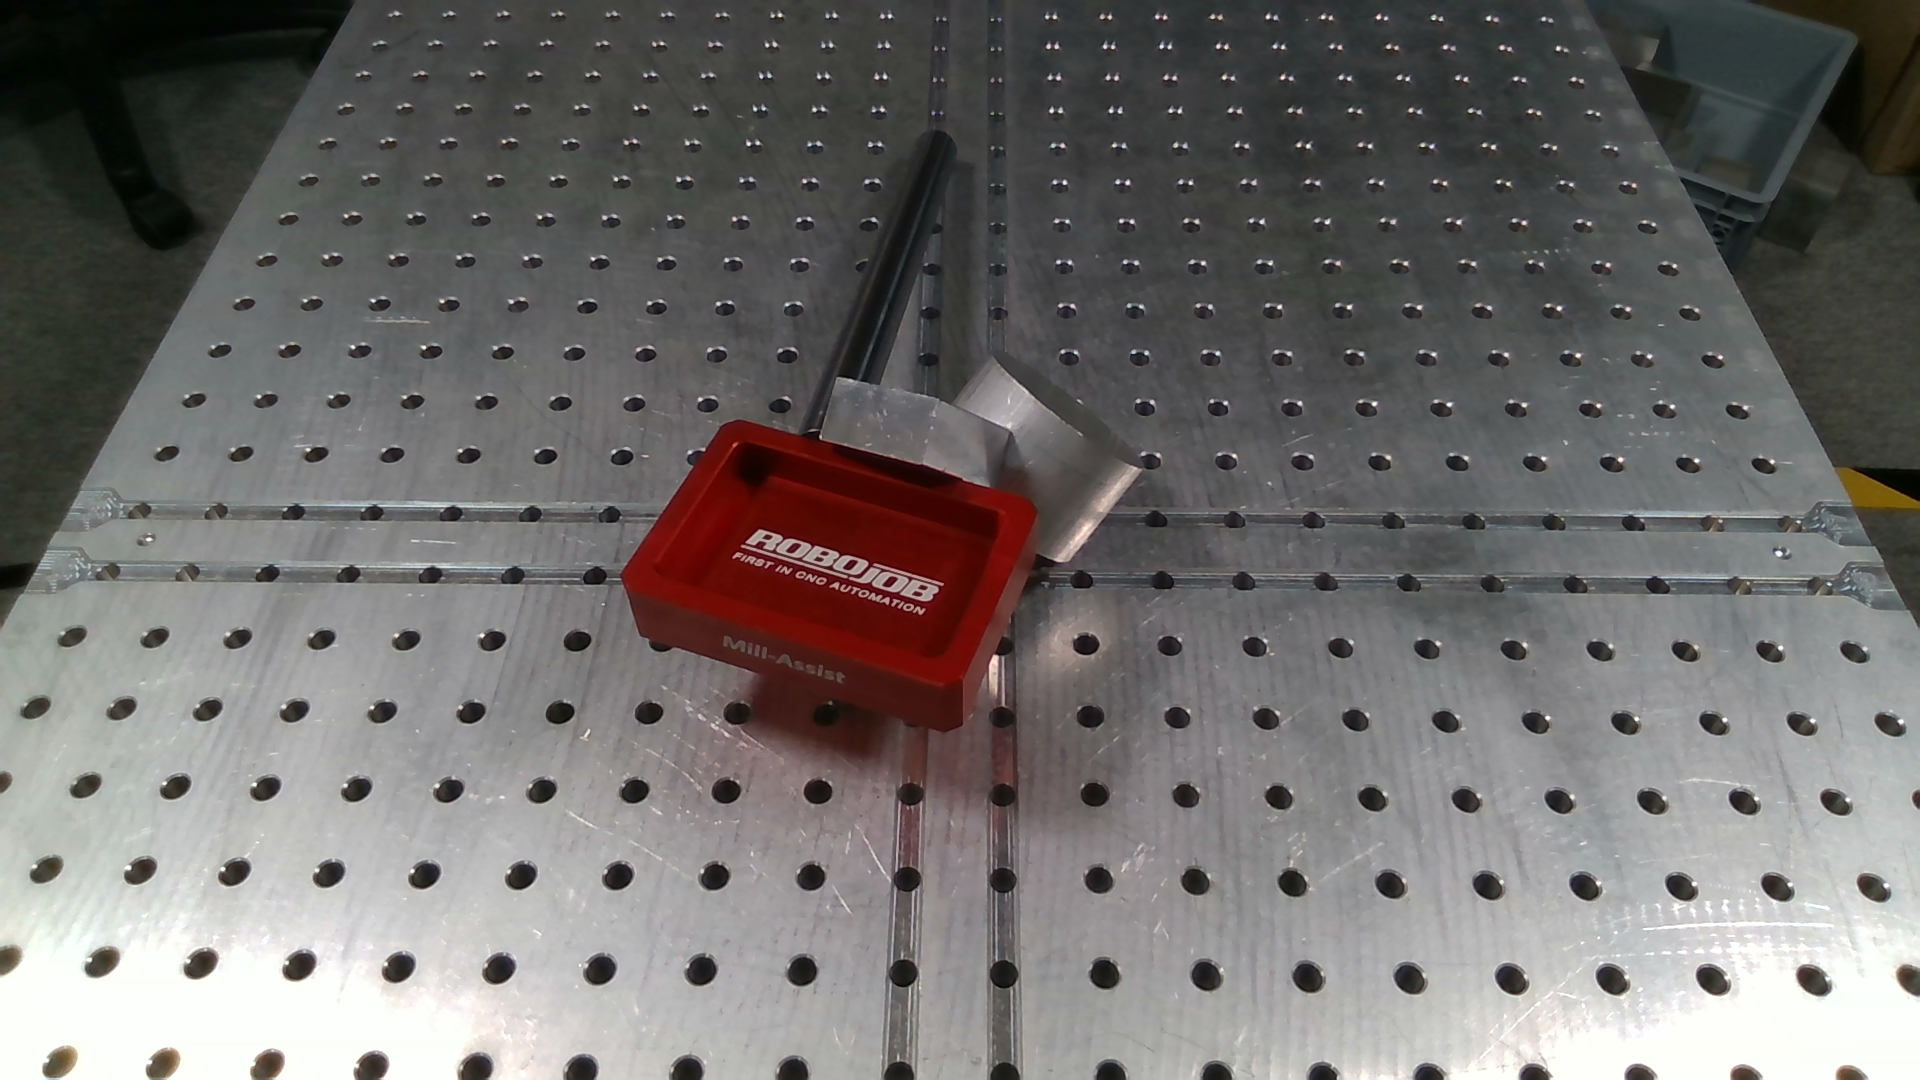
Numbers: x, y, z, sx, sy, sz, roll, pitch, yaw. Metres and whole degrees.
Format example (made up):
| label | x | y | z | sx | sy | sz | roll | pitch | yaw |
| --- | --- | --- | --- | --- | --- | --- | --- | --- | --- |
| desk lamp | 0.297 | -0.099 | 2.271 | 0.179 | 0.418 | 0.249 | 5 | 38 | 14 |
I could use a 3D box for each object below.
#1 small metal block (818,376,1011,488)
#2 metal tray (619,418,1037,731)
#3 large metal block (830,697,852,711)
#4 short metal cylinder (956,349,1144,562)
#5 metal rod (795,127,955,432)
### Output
| label | x | y | z | sx | sy | sz | roll | pitch | yaw |
| --- | --- | --- | --- | --- | --- | --- | --- | --- | --- |
| small metal block | -0.017 | -0.041 | 0.529 | 0.050 | 0.050 | 0.025 | 16 | 90 | 34 |
| metal tray | -0.047 | 0.009 | 0.510 | 0.130 | 0.030 | 0.090 | 16 | 52 | 13 |
| large metal block | -0.038 | 0.009 | 0.564 | 0.080 | 0.050 | 0.080 | -29 | 56 | -22 |
| short metal cylinder | 0.030 | -0.036 | 0.576 | 0.050 | 0.080 | 0.080 | -52 | 57 | 14 |
| metal rod | -0.034 | -0.128 | 0.658 | 0.025 | 0.025 | 0.299 | 6 | 39 | 5 |
